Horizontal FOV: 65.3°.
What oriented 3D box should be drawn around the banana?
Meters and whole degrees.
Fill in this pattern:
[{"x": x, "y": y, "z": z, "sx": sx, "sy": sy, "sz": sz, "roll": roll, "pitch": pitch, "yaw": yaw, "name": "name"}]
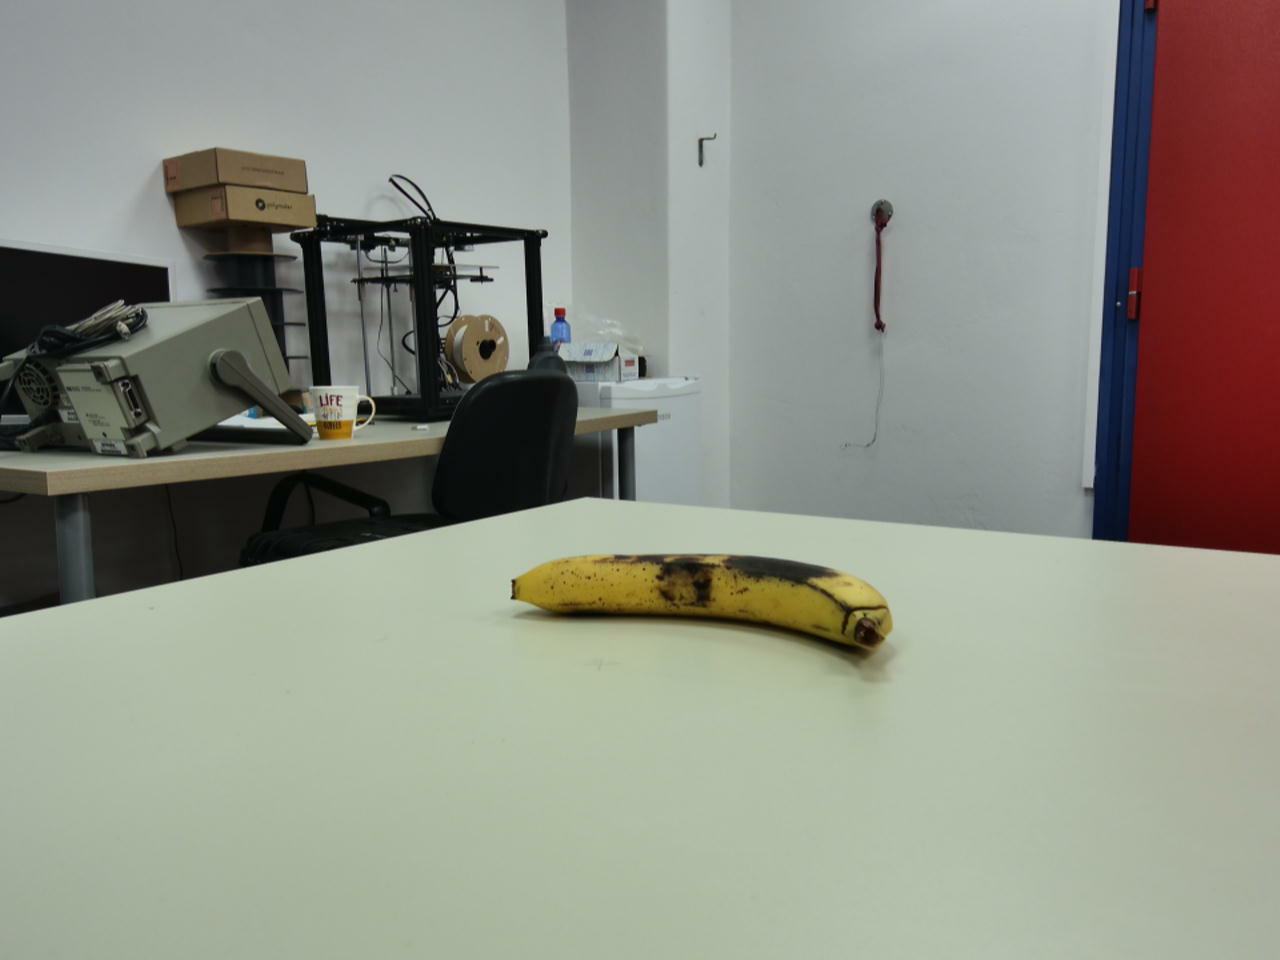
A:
[{"x": 0.037, "y": 0.061, "z": 0.535, "sx": 0.222, "sy": 0.037, "sz": 0.084, "roll": 4, "pitch": 7, "yaw": 36, "name": "banana"}]
